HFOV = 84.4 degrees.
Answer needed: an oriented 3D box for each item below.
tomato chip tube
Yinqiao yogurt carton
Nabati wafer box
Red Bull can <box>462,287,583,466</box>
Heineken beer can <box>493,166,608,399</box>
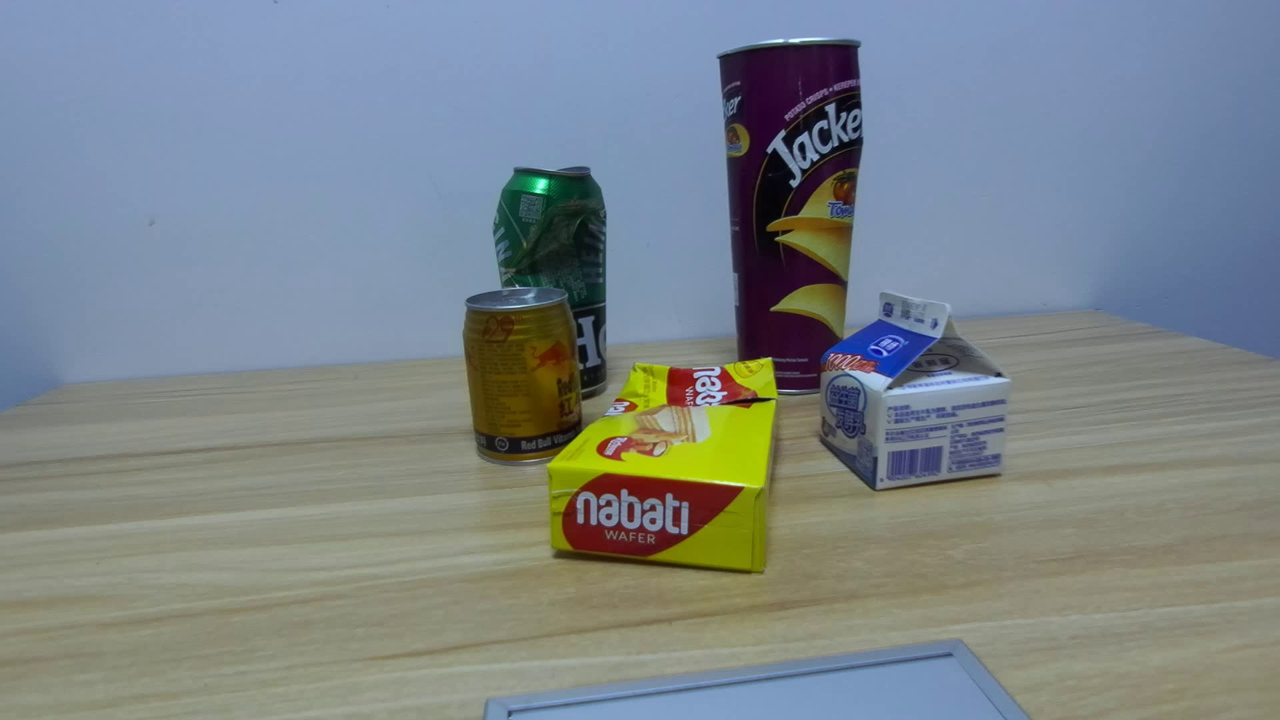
[{"bbox_3d":[0.108,-0.098,0.507,0.076,0.235,0.077,-9,16,-23],"label":"tomato chip tube"},{"bbox_3d":[0.145,0.010,0.381,0.074,0.092,0.075,-5,15,-9],"label":"Yinqiao yogurt carton"},{"bbox_3d":[0.022,0.042,0.397,0.106,0.042,0.204,2,16,12],"label":"Nabati wafer box"},{"bbox_3d":[-0.070,0.007,0.425,0.067,0.093,0.067,-2,18,1],"label":"Red Bull can"},{"bbox_3d":[-0.062,-0.054,0.511,0.078,0.164,0.066,0,16,-1],"label":"Heineken beer can"}]
